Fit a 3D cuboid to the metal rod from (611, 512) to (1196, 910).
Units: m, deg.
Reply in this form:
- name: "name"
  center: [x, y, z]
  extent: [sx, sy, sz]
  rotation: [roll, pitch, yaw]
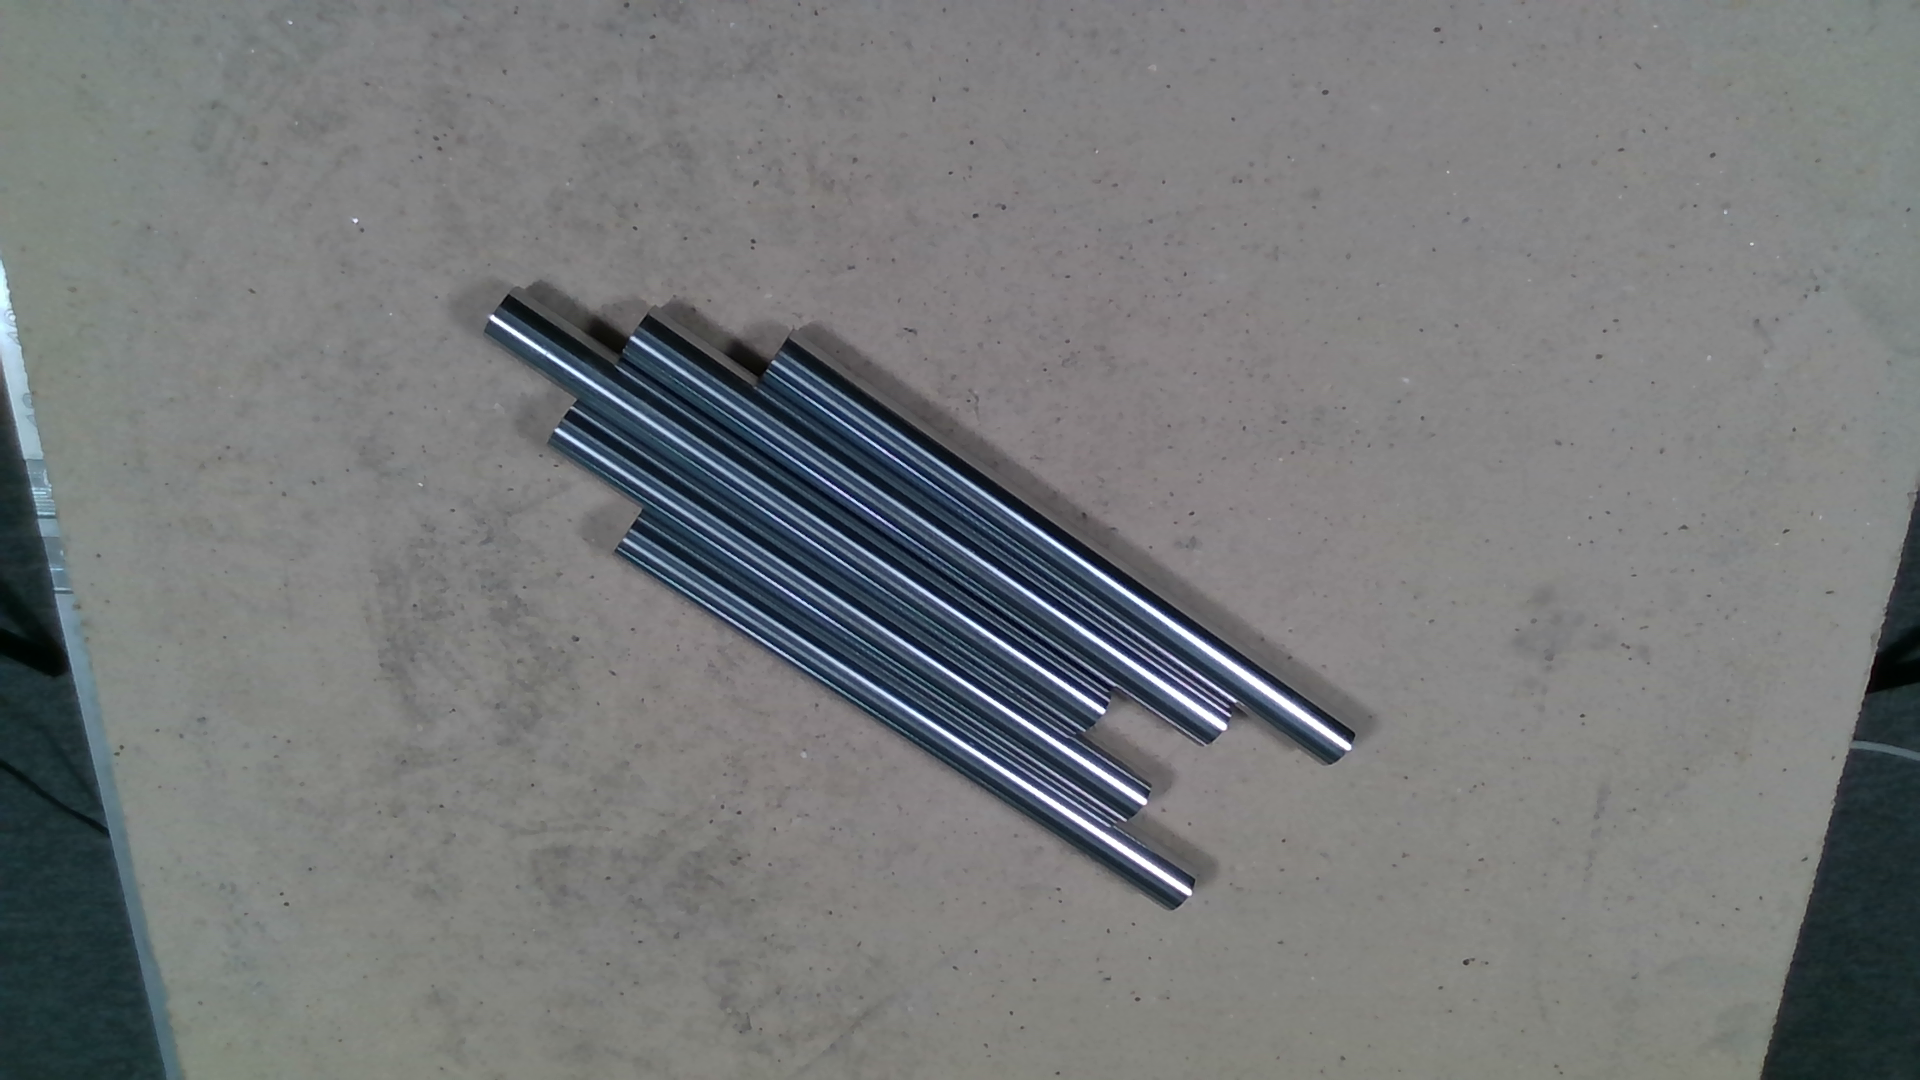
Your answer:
- name: "metal rod"
  center: [-0.019, 0.079, 0.613]
  extent: [0.300, 0.025, 0.025]
  rotation: [34, 107, -12]

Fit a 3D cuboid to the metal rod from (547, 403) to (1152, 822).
- name: "metal rod"
  center: [-0.042, 0.035, 0.597]
  extent: [0.300, 0.025, 0.025]
  rotation: [34, 107, -12]

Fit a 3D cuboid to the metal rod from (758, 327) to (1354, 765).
- name: "metal rod"
  center: [0.047, 0.007, 0.587]
  extent: [0.300, 0.025, 0.025]
  rotation: [34, 107, -12]

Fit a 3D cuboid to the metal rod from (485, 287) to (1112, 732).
- name: "metal rod"
  center: [-0.062, -0.008, 0.582]
  extent: [0.300, 0.025, 0.025]
  rotation: [34, 107, -12]

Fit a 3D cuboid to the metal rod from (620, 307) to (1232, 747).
- name: "metal rod"
  center: [-0.008, -0.001, 0.584]
  extent: [0.300, 0.025, 0.025]
  rotation: [34, 107, -12]
